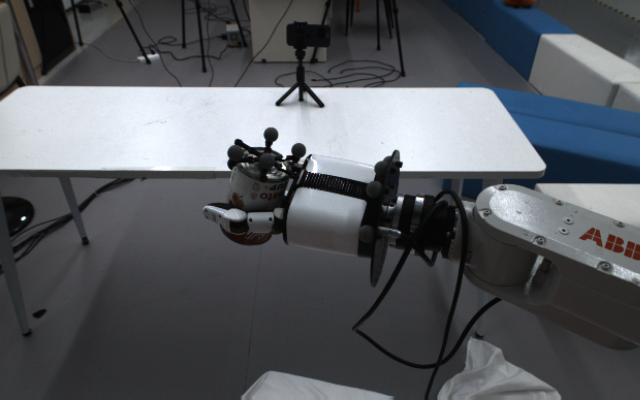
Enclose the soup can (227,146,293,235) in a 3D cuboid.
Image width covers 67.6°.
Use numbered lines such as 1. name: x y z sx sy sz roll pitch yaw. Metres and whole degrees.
1. soup can: -0.077 -0.004 0.582 0.067 0.101 0.067 14 35 -10
